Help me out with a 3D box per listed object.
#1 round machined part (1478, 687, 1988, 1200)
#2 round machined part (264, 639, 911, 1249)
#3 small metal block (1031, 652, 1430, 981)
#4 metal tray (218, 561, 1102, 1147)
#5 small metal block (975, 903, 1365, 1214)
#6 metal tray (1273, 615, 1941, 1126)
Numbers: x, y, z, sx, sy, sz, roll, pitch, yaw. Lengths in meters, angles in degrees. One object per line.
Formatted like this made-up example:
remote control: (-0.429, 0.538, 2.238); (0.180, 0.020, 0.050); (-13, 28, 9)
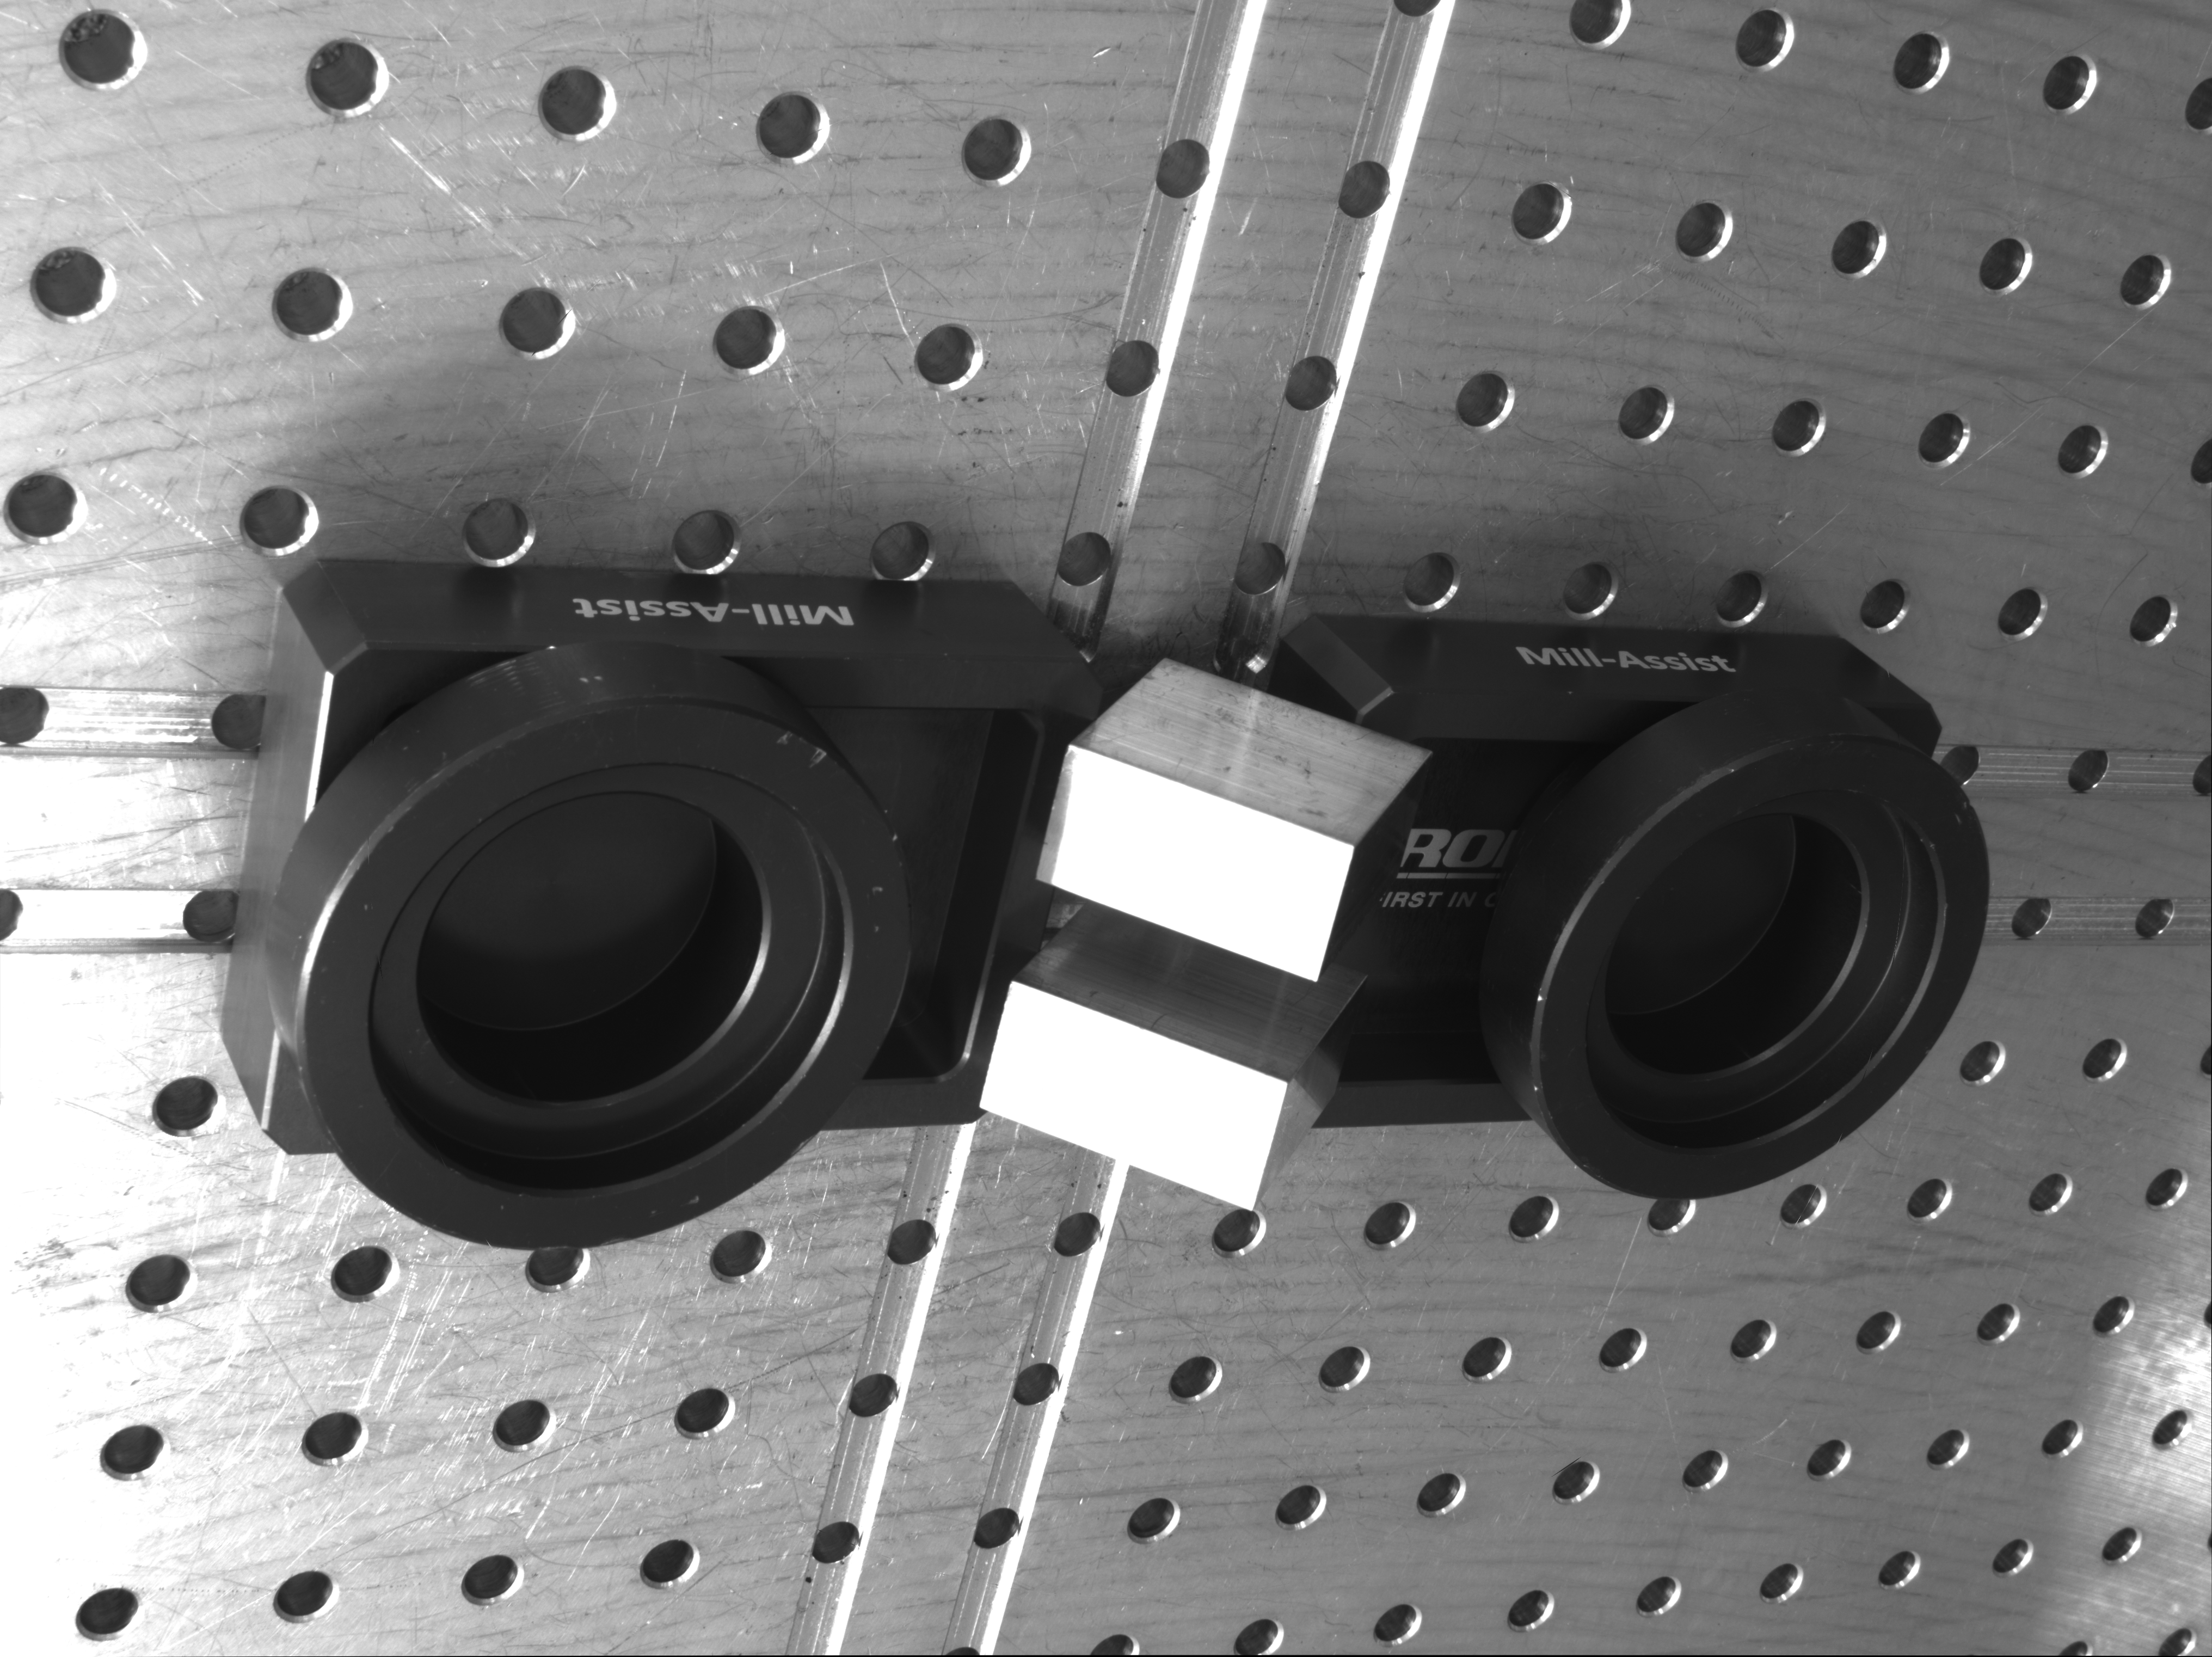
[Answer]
round machined part: (0.112, 0.017, 0.684); (0.098, 0.042, 0.098); (-14, 124, -21)
round machined part: (-0.084, 0.014, 0.577); (0.098, 0.042, 0.098); (-14, 124, -21)
small metal block: (0.022, -0.003, 0.616); (0.050, 0.050, 0.025); (20, 115, 12)
metal tray: (-0.073, 0.004, 0.601); (0.130, 0.030, 0.090); (-1, 121, -28)
small metal block: (0.012, 0.037, 0.634); (0.050, 0.050, 0.025); (20, 115, 12)
metal tray: (0.085, 0.009, 0.689); (0.130, 0.030, 0.090); (1, 118, -29)
